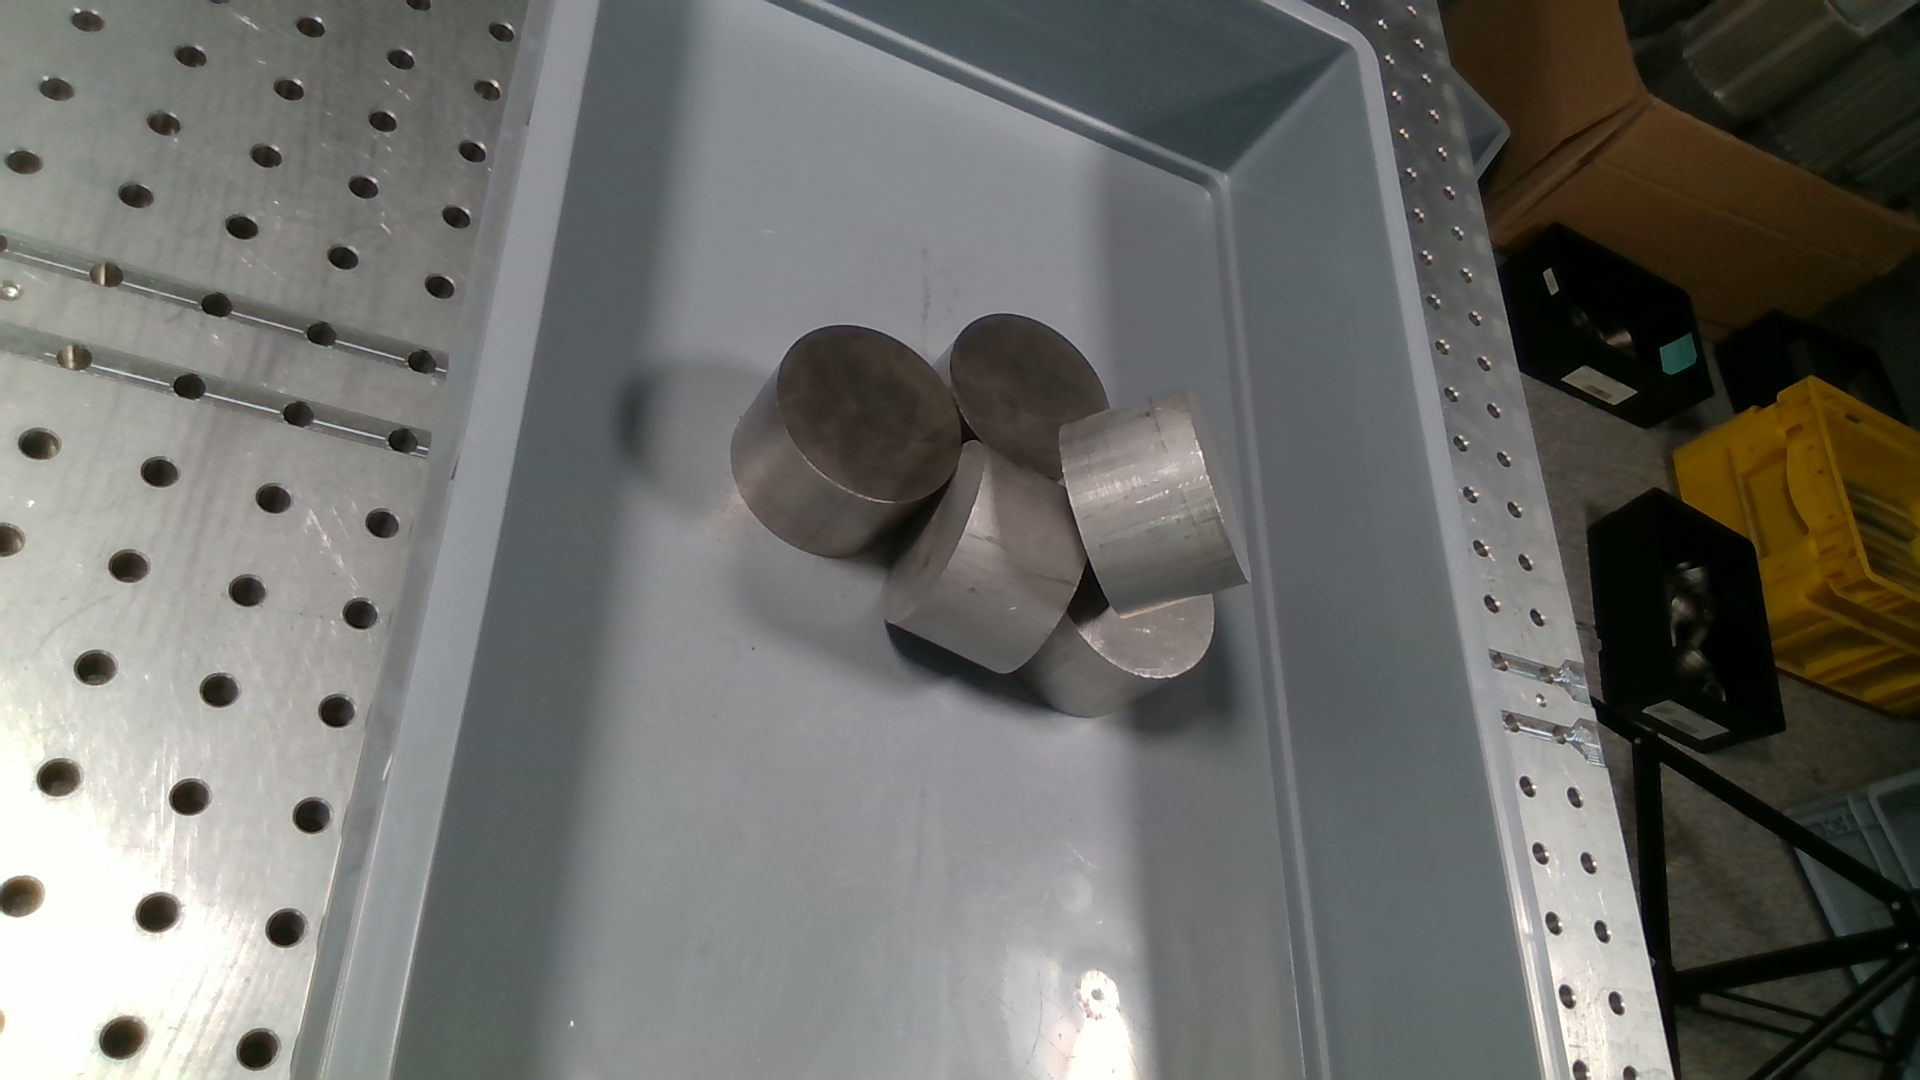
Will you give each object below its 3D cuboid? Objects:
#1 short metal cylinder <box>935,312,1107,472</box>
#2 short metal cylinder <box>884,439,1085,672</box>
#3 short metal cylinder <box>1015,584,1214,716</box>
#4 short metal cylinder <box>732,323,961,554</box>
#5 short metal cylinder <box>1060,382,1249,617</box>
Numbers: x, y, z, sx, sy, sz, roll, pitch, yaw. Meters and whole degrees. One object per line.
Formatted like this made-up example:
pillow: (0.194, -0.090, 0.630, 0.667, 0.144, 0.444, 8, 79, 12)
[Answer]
short metal cylinder: (0.019, -0.053, 0.608, 0.080, 0.050, 0.080, 14, 59, -25)
short metal cylinder: (0.010, 0.006, 0.552, 0.050, 0.080, 0.080, 26, 54, -17)
short metal cylinder: (0.061, 0.029, 0.590, 0.080, 0.050, 0.080, 14, 59, -25)
short metal cylinder: (-0.047, -0.041, 0.561, 0.080, 0.050, 0.080, 14, 59, -25)
short metal cylinder: (0.076, -0.015, 0.533, 0.080, 0.050, 0.080, -16, 89, -75)
